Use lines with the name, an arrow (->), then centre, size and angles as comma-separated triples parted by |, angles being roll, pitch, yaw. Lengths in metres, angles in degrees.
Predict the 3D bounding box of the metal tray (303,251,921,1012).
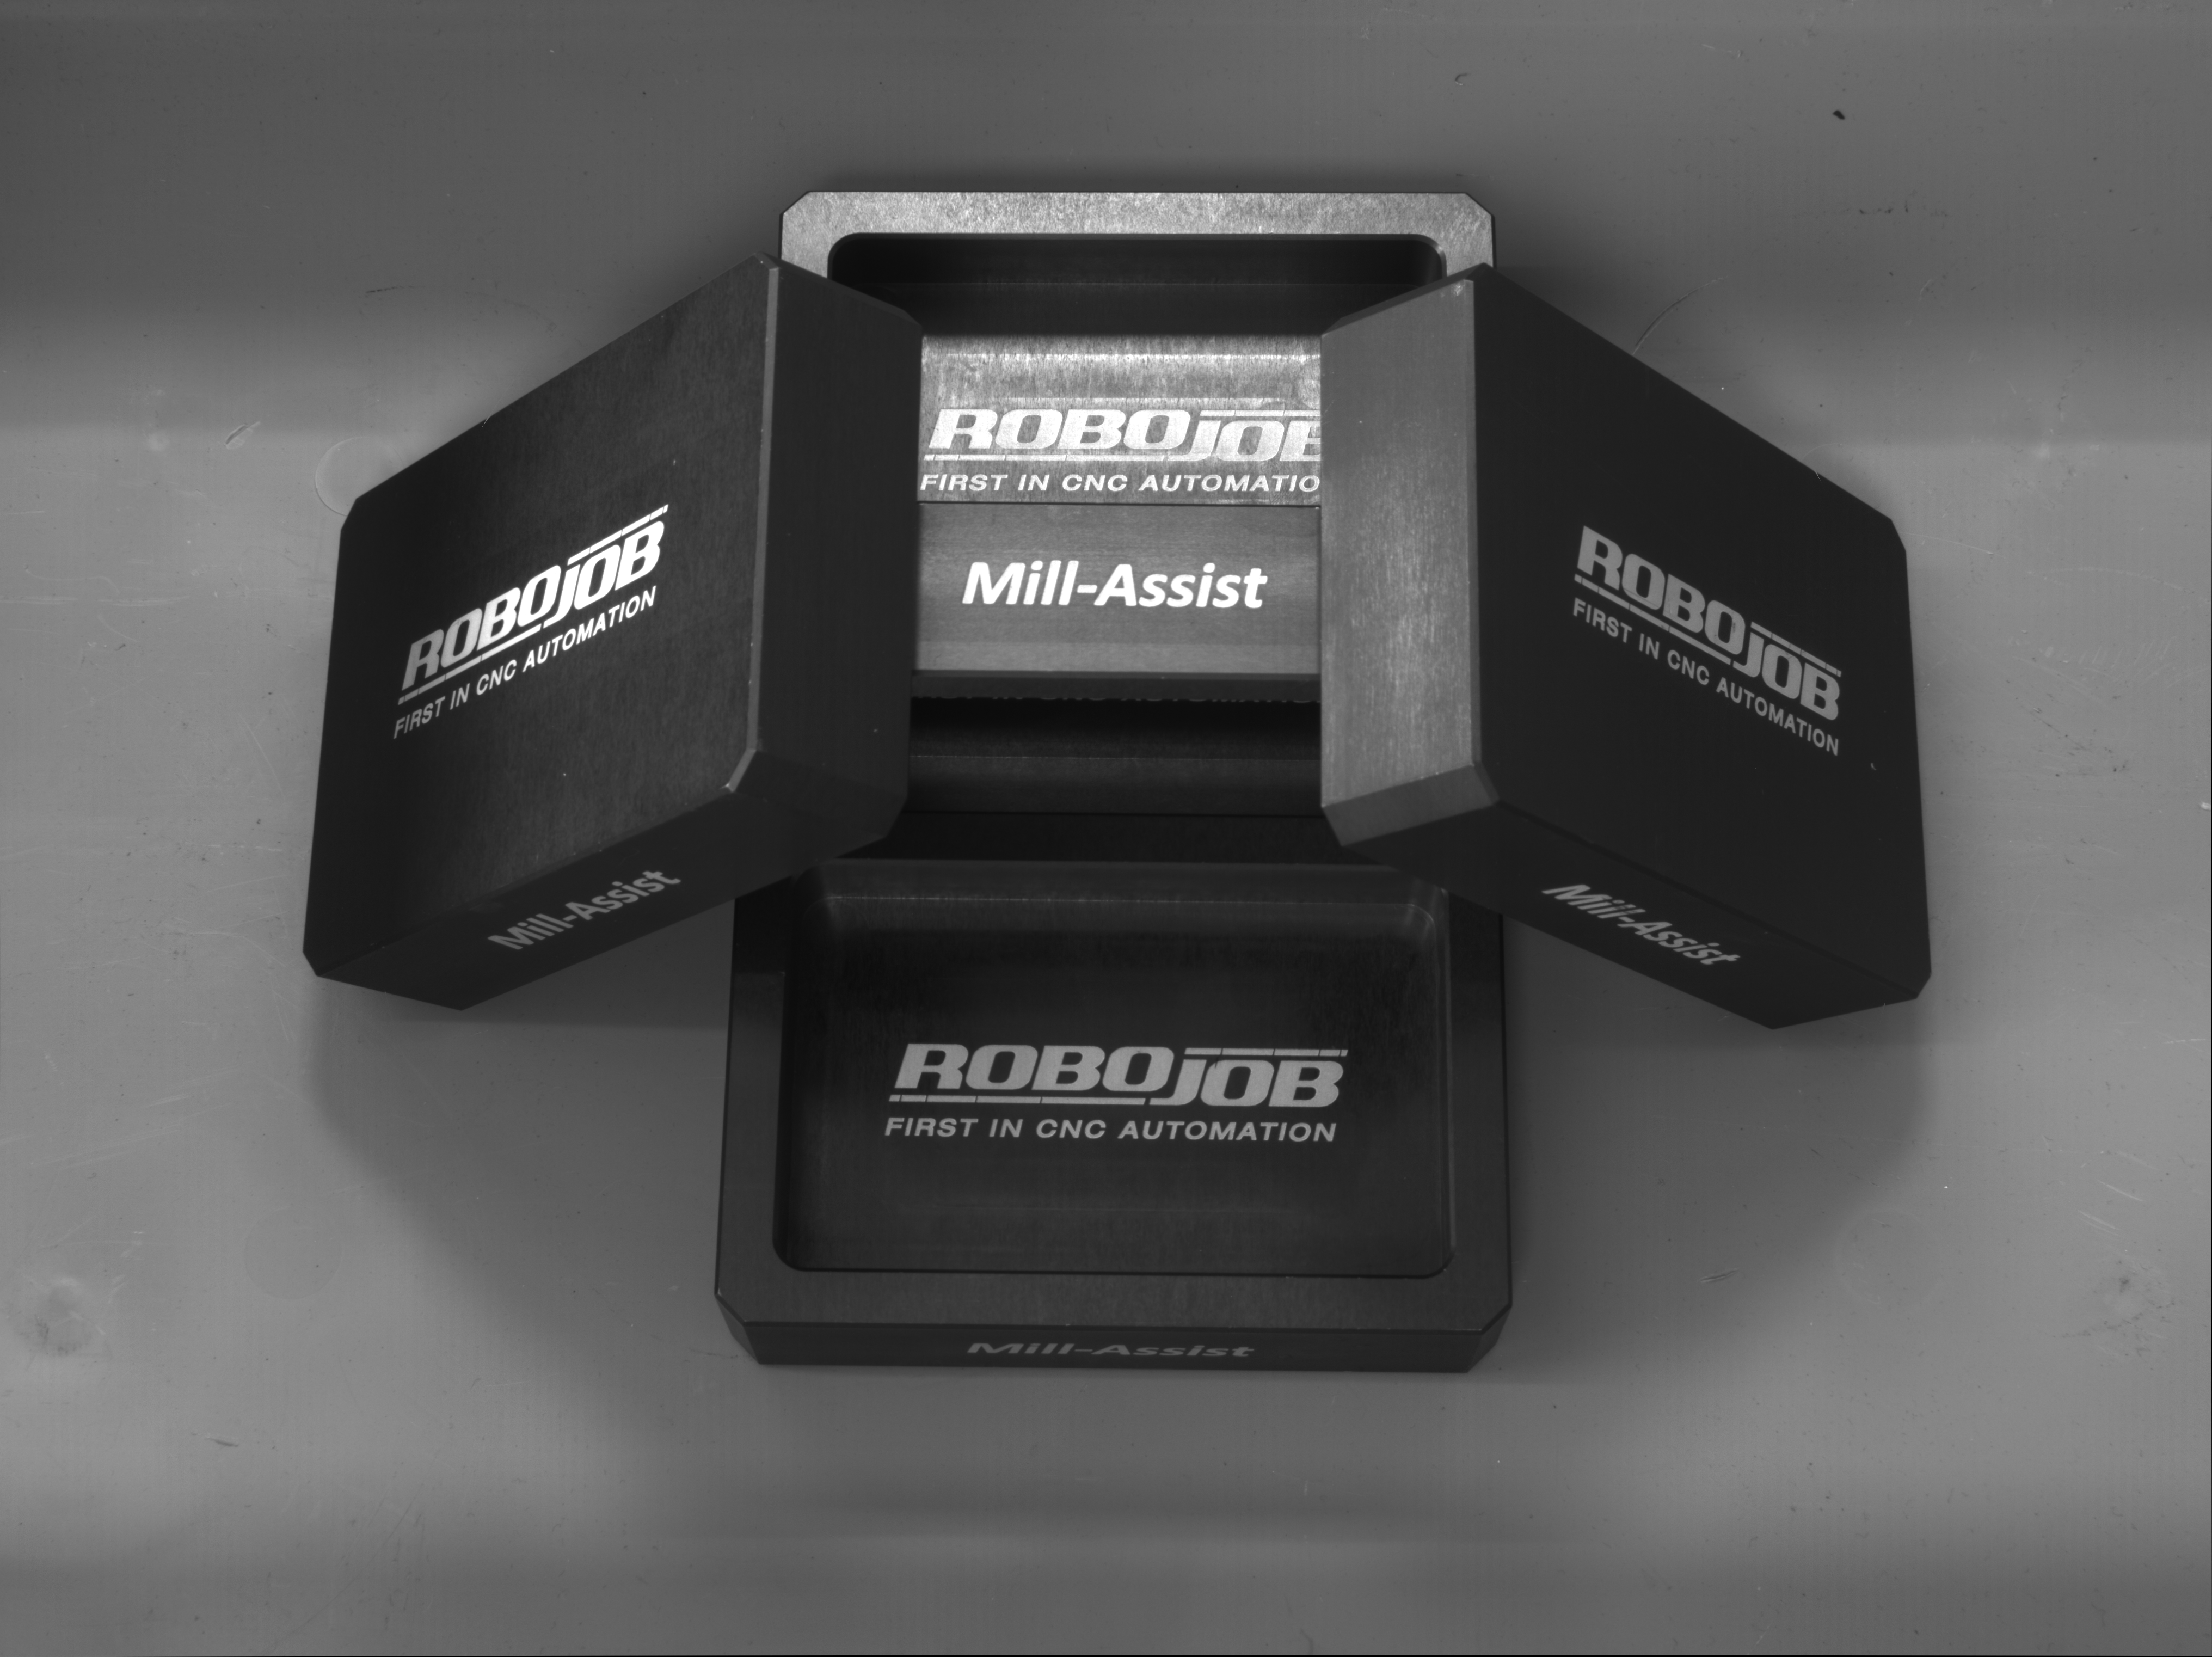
metal tray -> -0.083, -0.029, 0.605 | 0.030, 0.130, 0.090 | 18, 64, -38

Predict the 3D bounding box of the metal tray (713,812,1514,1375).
metal tray -> 0.002, 0.045, 0.623 | 0.130, 0.030, 0.090 | 1, 70, 0

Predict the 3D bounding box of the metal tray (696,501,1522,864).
metal tray -> 0.001, -0.022, 0.617 | 0.130, 0.090, 0.030 | 1, 70, 0

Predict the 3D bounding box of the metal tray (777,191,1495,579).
metal tray -> 0.005, -0.069, 0.666 | 0.130, 0.030, 0.090 | 0, 70, -1

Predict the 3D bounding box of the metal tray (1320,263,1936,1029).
metal tray -> 0.088, -0.026, 0.604 | 0.030, 0.130, 0.090 | -17, 63, 40
